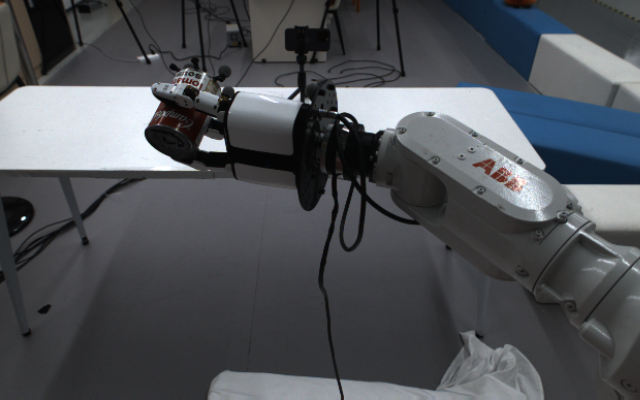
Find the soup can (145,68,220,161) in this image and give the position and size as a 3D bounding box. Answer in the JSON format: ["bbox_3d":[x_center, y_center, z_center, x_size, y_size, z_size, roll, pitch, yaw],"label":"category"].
[{"bbox_3d":[-0.177,-0.113,0.635,0.067,0.067,0.101,9,60,10],"label":"soup can"}]
